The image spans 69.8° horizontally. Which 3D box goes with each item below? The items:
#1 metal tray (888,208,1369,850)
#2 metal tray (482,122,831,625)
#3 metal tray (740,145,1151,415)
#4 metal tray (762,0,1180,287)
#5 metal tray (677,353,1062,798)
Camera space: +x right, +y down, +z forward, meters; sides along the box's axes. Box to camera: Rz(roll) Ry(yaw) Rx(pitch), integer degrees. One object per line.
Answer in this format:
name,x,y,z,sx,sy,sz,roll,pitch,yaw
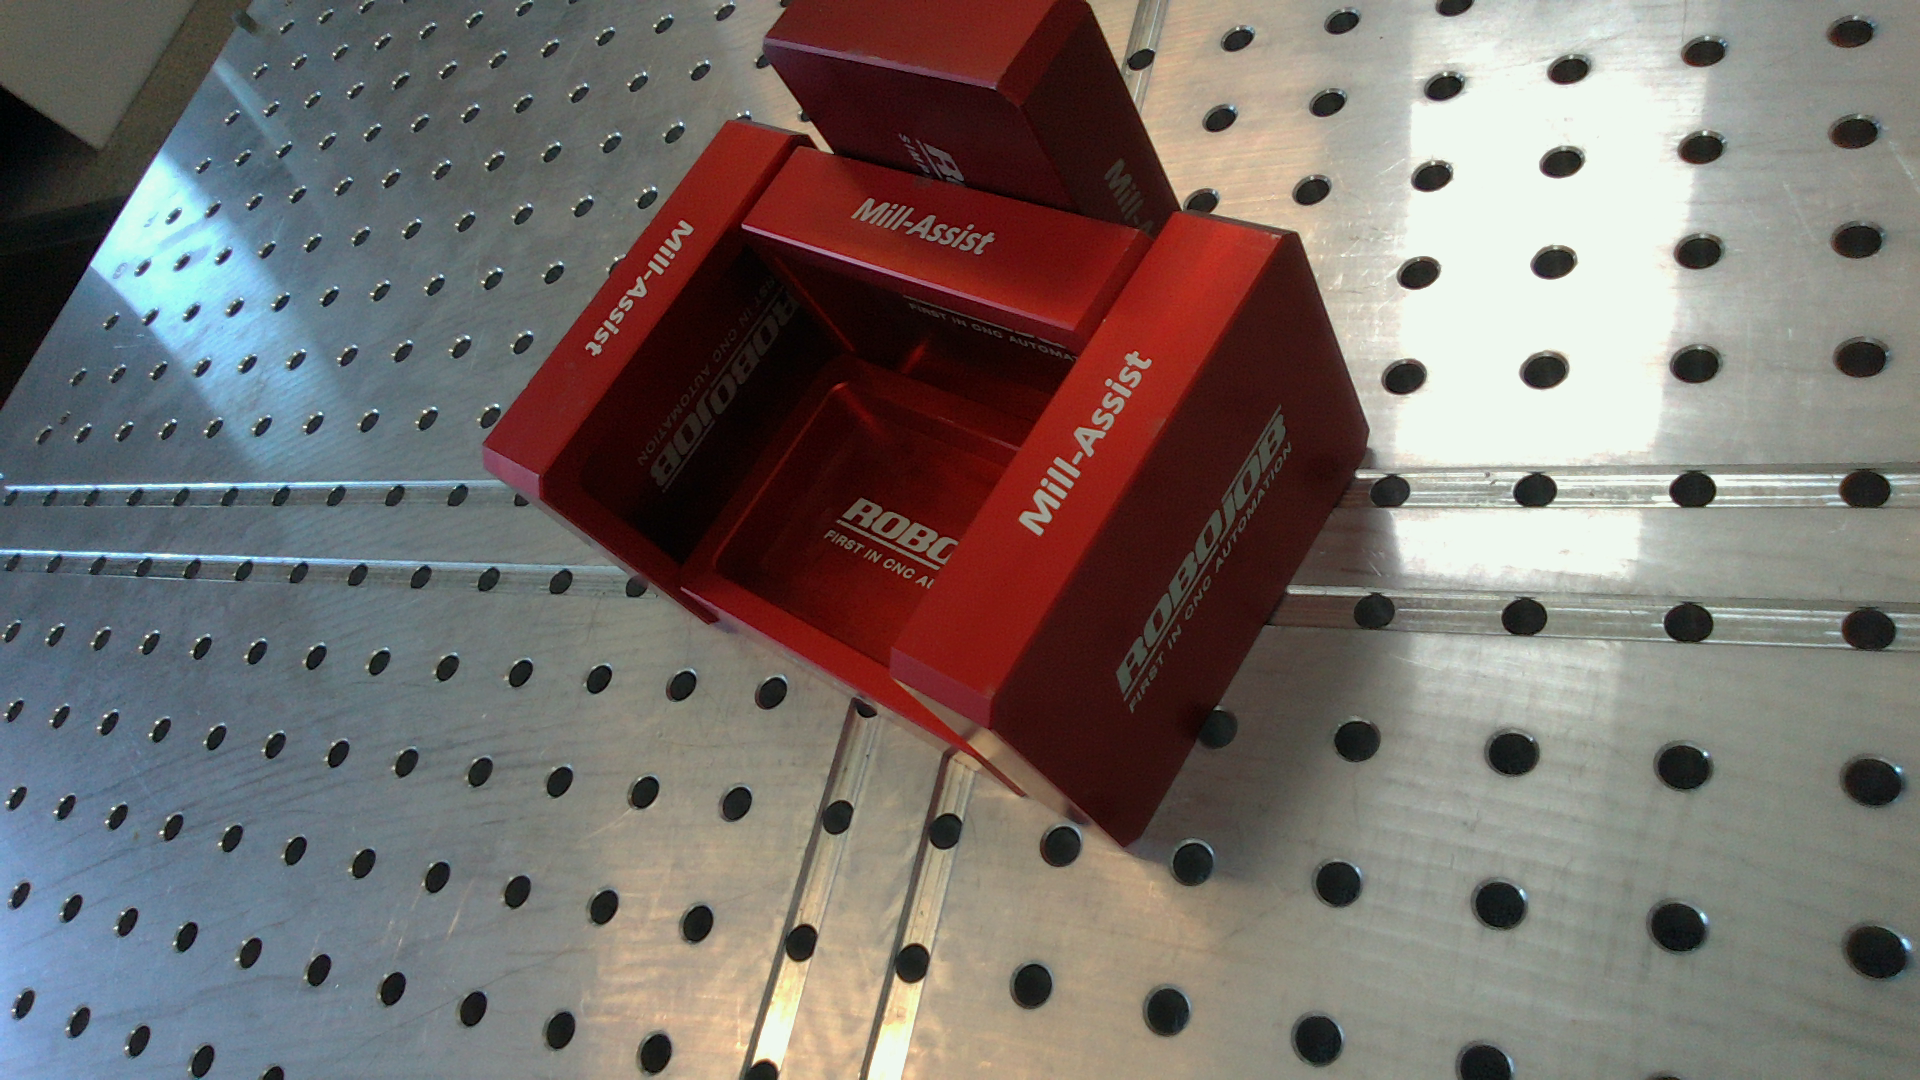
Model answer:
metal tray,0.047,-0.001,0.329,0.030,0.090,0.130,24,75,37
metal tray,-0.073,-0.050,0.424,0.030,0.090,0.130,24,74,36
metal tray,0.009,-0.060,0.386,0.130,0.090,0.030,24,75,36
metal tray,0.014,-0.095,0.379,0.090,0.130,0.030,25,76,37
metal tray,-0.011,0.005,0.396,0.130,0.030,0.090,24,75,36
